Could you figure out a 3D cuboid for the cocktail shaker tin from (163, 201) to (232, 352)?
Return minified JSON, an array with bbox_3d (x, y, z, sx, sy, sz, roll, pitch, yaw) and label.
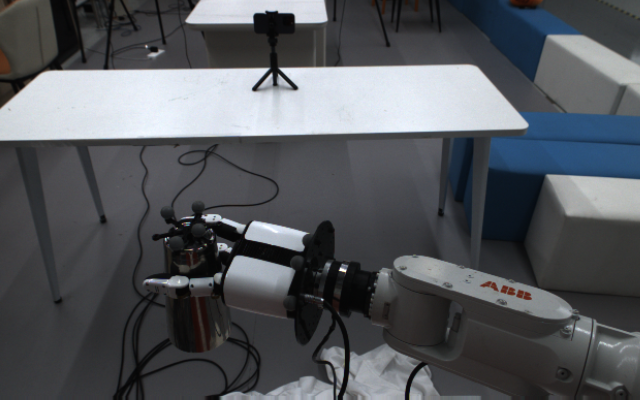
[{"bbox_3d":[-0.172,0.117,0.668,0.093,0.170,0.093,3,33,-2],"label":"cocktail shaker tin"}]
